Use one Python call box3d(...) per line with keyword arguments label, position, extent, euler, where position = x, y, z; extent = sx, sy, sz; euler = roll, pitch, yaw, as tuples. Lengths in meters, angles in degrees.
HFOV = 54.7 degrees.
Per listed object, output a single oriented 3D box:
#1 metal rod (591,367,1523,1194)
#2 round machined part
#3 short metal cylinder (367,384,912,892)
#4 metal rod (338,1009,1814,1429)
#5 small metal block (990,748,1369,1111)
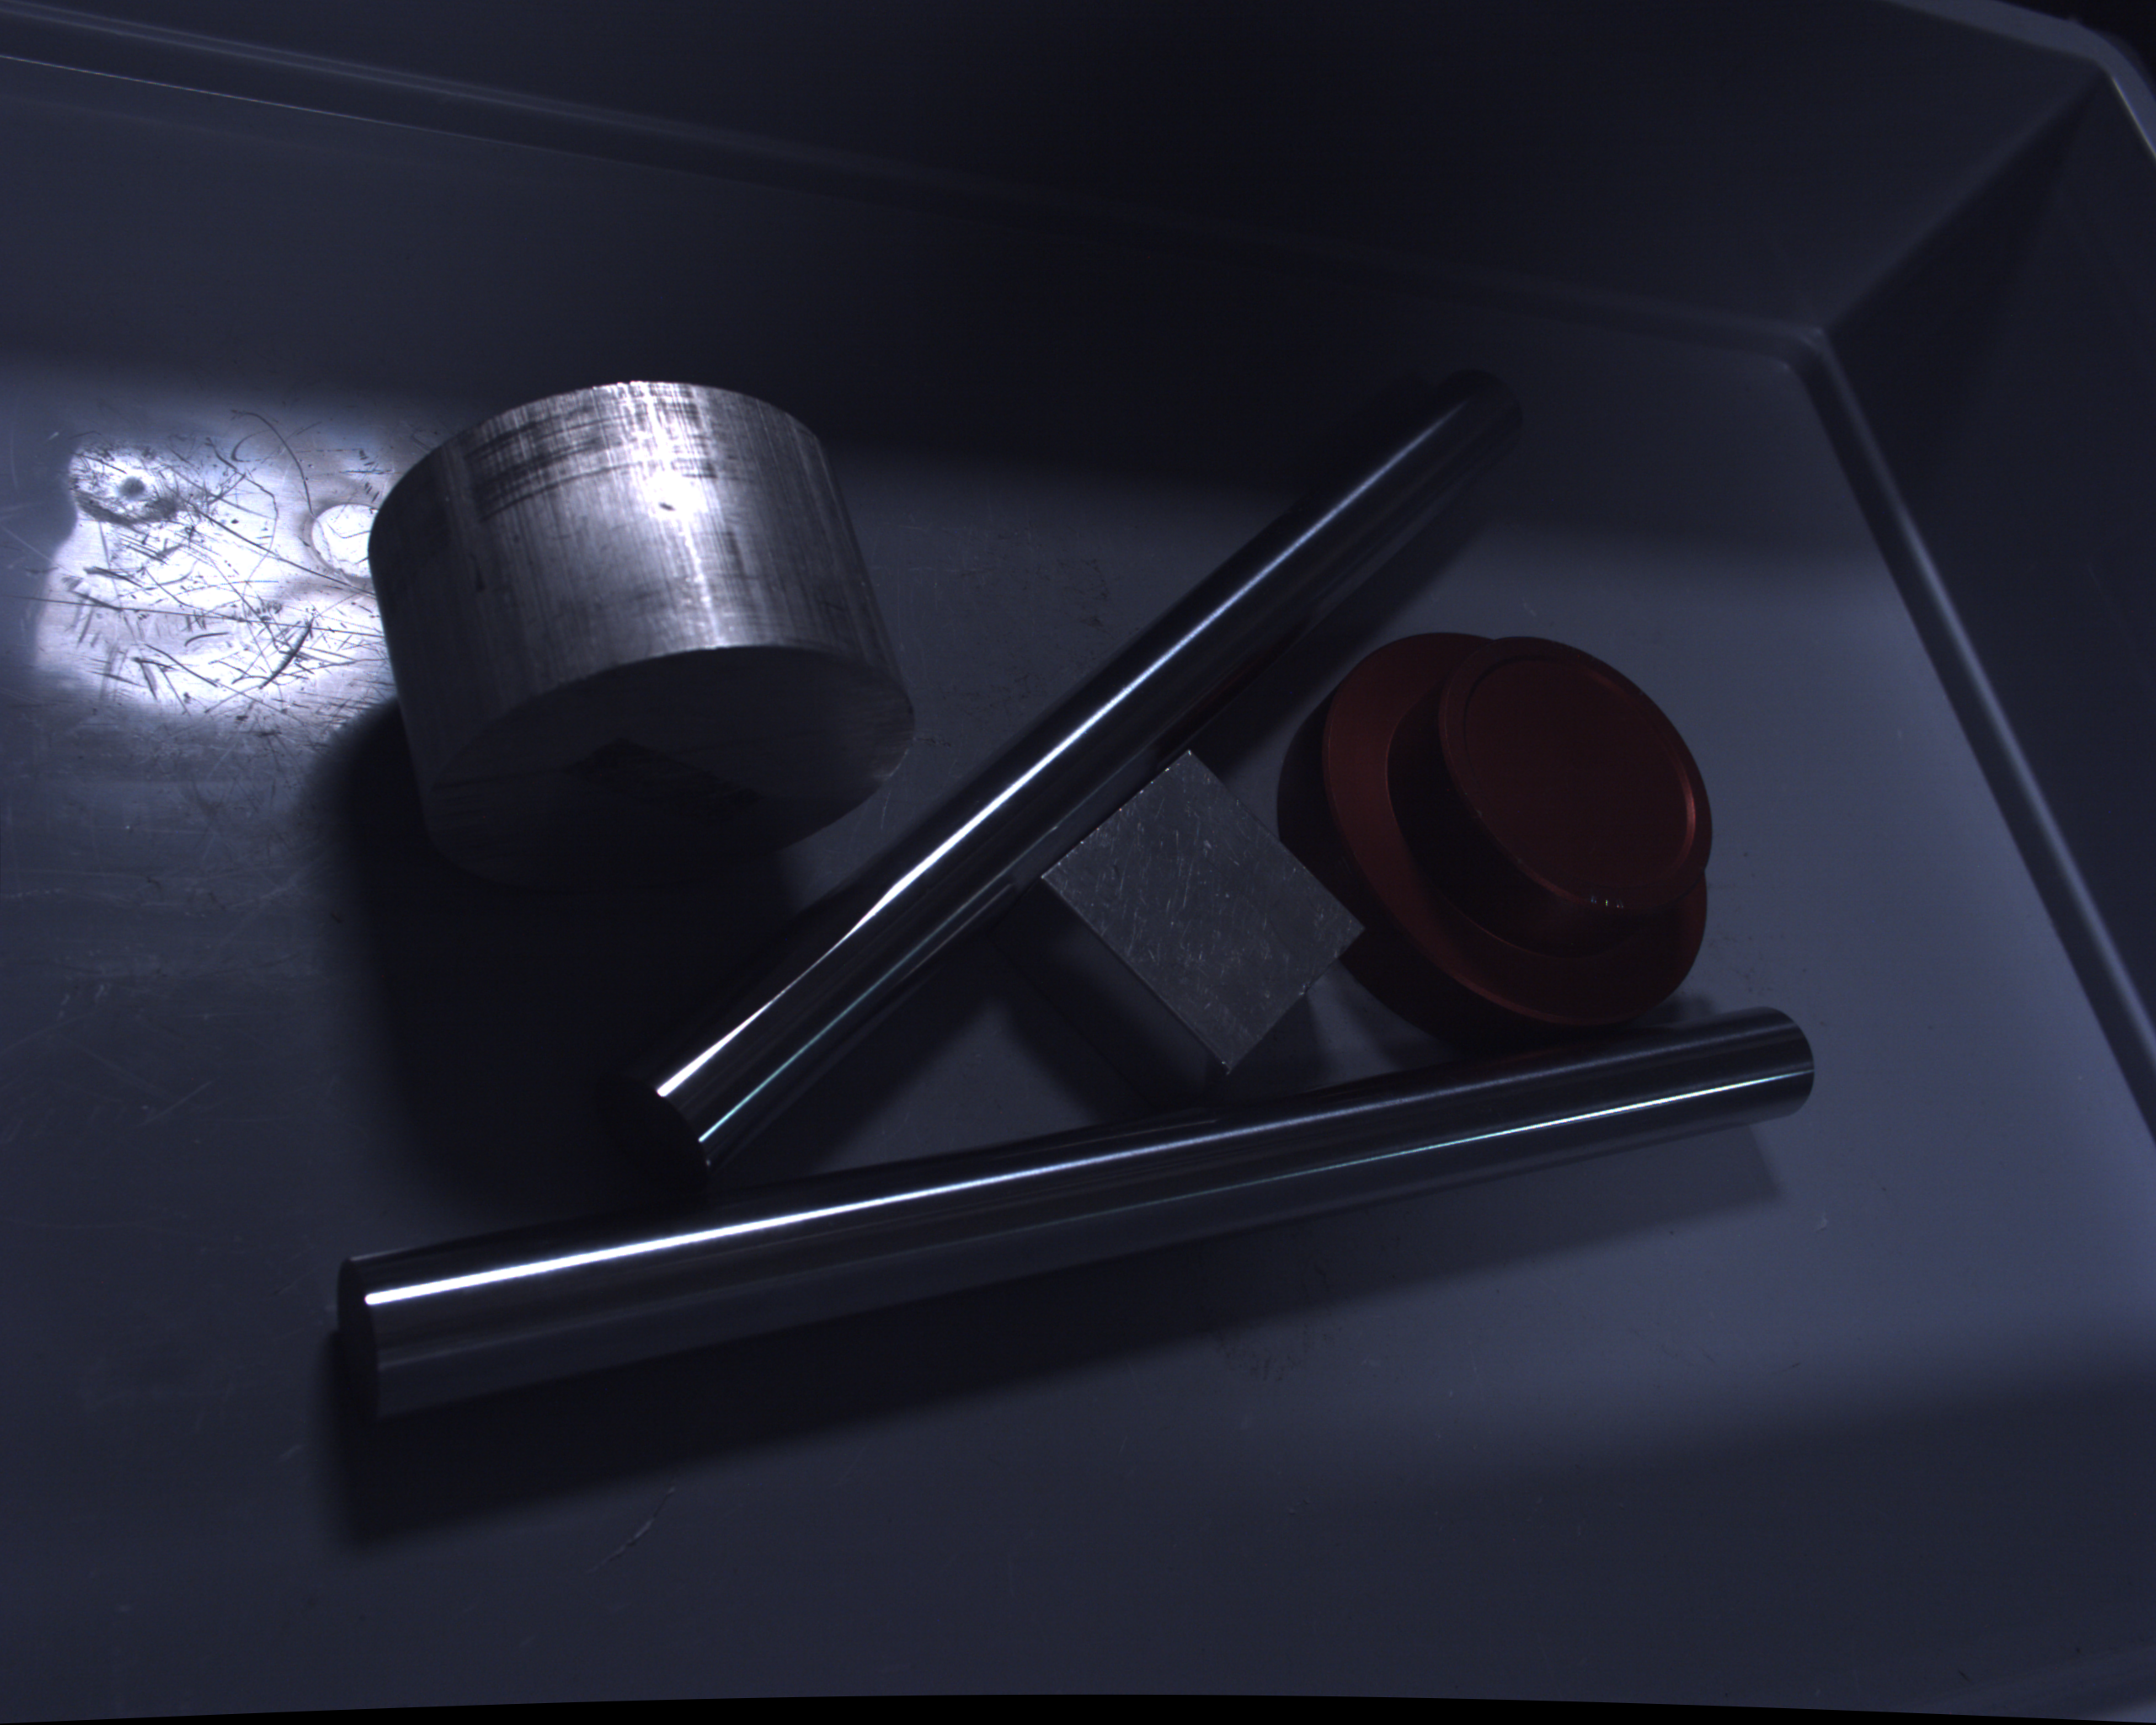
box3d(label="metal rod", position=(0.016, -0.035, 0.435), extent=(0.025, 0.025, 0.302), euler=(45, 51, 3))
box3d(label="round machined part", position=(0.097, -0.010, 0.451), extent=(0.099, 0.042, 0.098), euler=(14, 56, -21))
box3d(label="short metal cylinder", position=(-0.074, -0.035, 0.352), extent=(0.081, 0.080, 0.050), euler=(-5, 65, -31))
box3d(label="metal rod", position=(0.024, 0.057, 0.383), extent=(0.303, 0.025, 0.025), euler=(-6, 65, -31))
box3d(label="small metal block", position=(0.020, 0.014, 0.407), extent=(0.050, 0.025, 0.050), euler=(46, 51, 3))
